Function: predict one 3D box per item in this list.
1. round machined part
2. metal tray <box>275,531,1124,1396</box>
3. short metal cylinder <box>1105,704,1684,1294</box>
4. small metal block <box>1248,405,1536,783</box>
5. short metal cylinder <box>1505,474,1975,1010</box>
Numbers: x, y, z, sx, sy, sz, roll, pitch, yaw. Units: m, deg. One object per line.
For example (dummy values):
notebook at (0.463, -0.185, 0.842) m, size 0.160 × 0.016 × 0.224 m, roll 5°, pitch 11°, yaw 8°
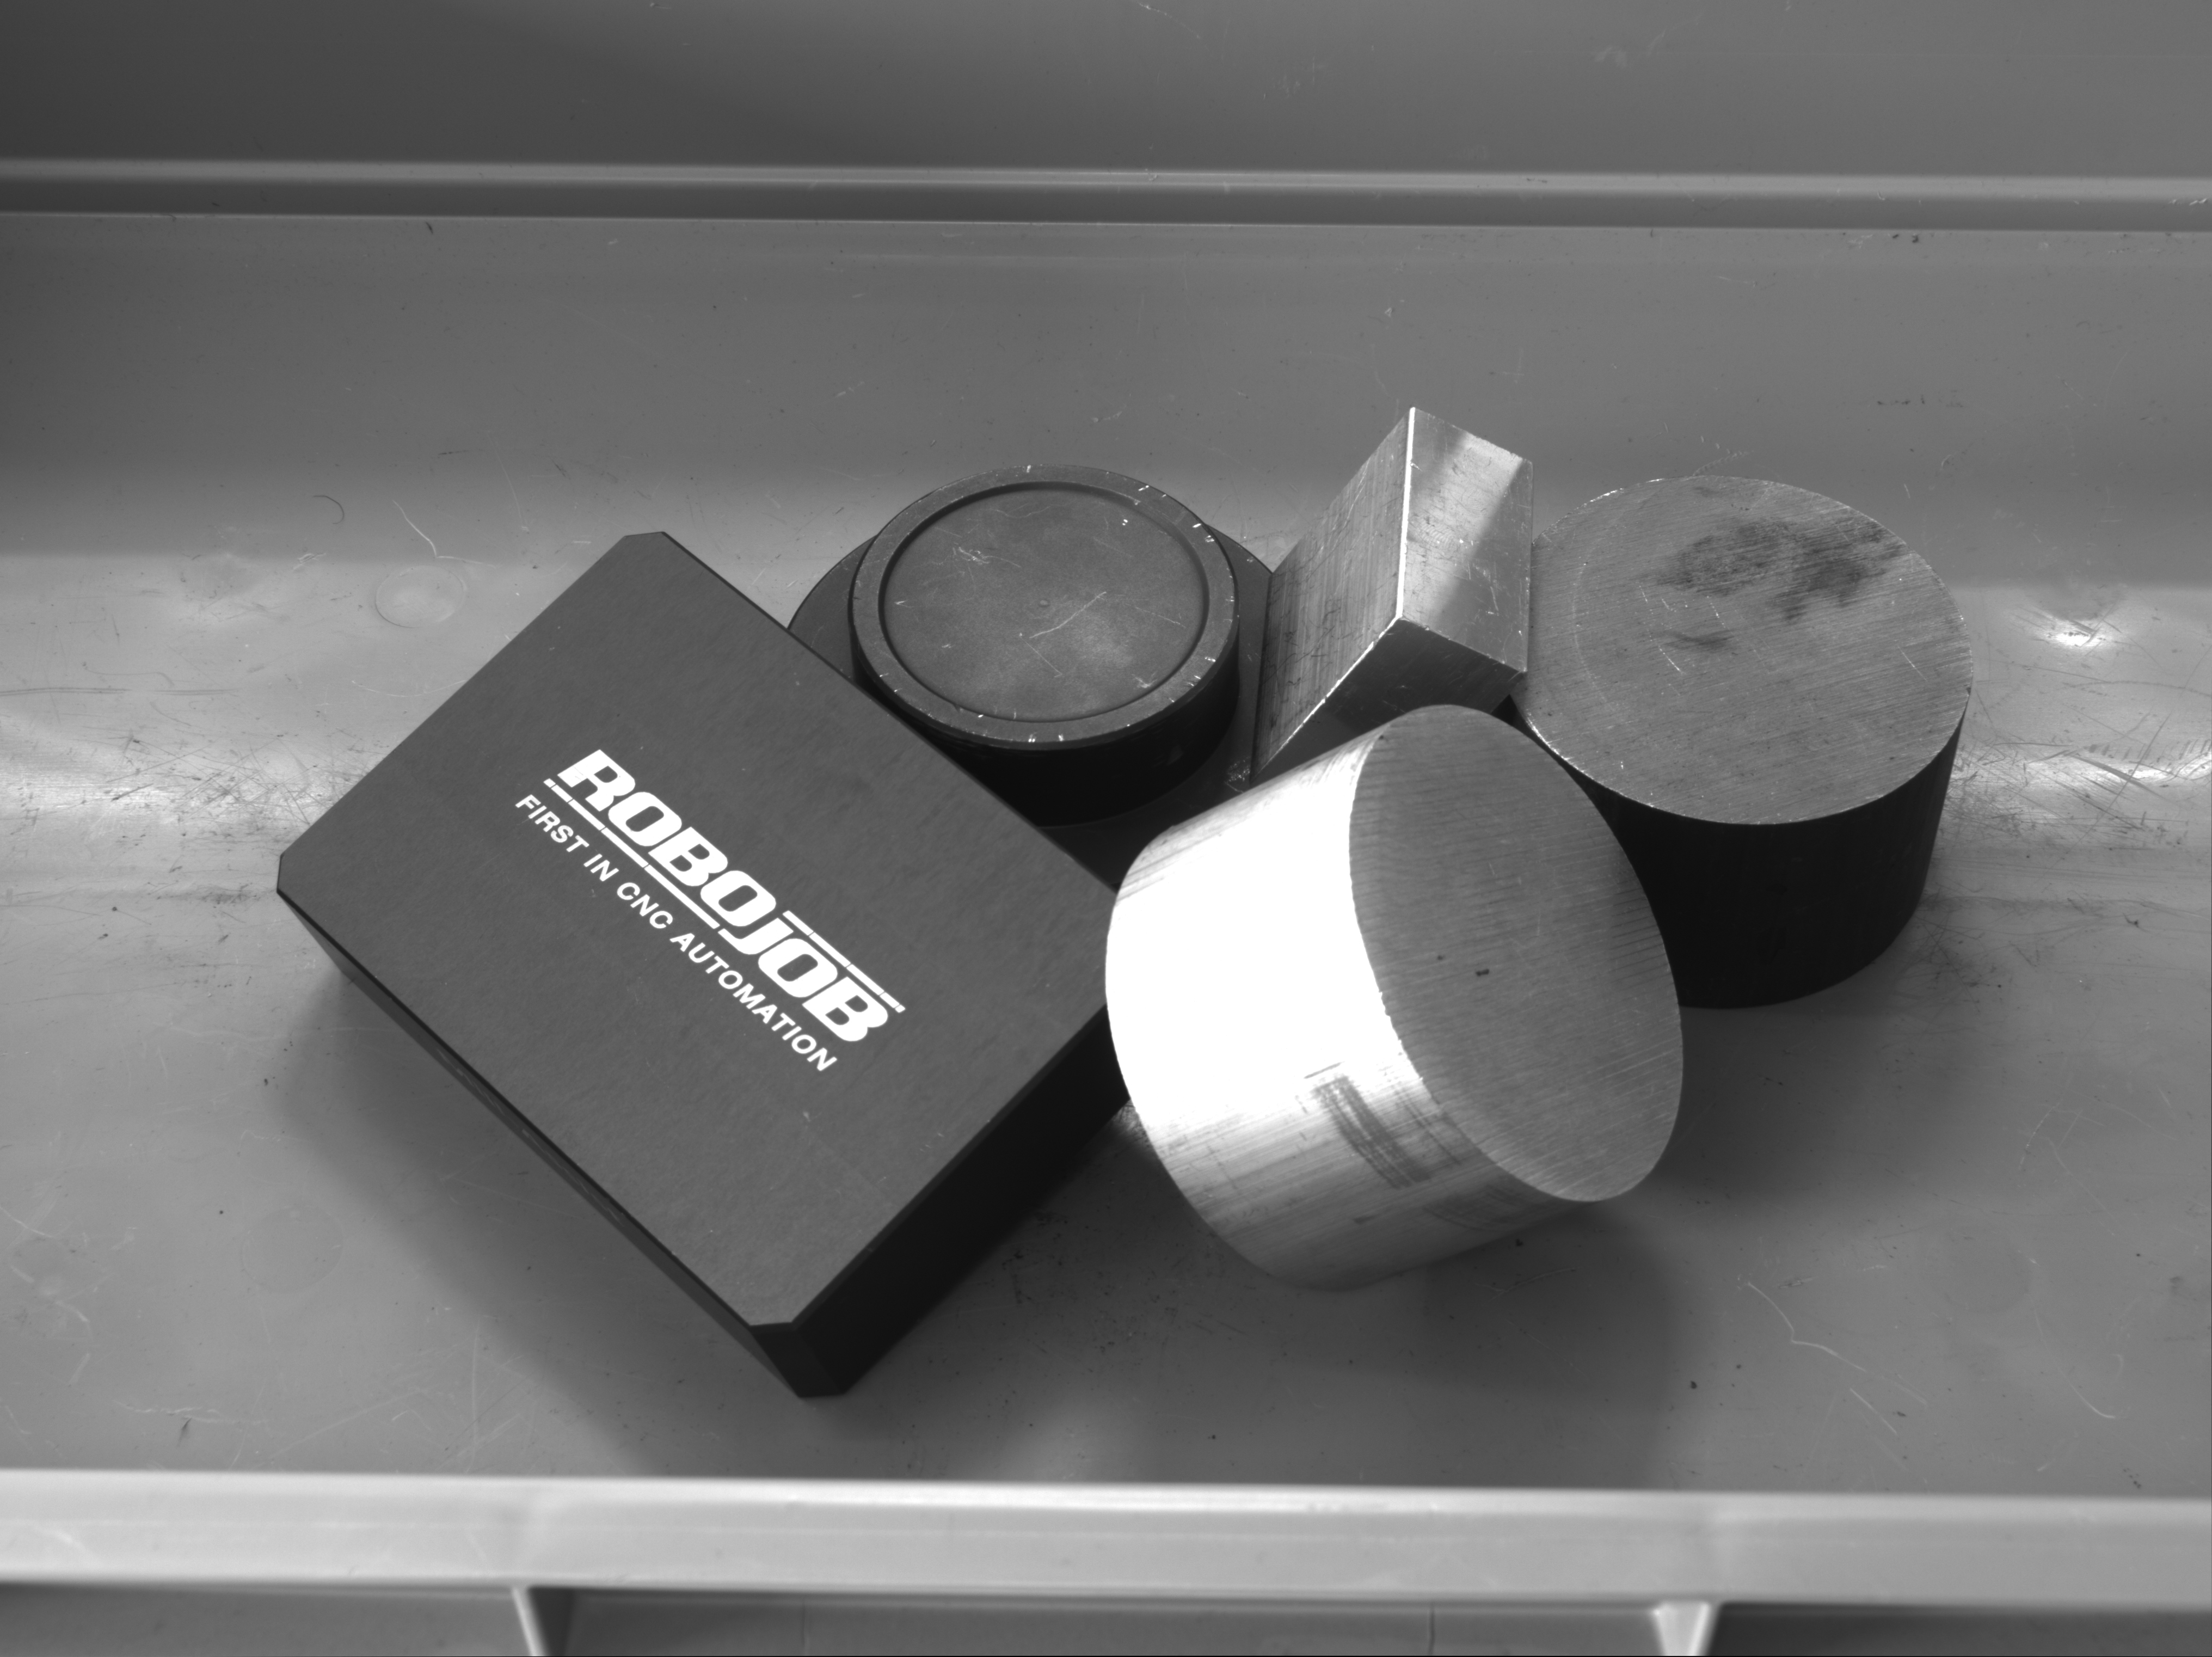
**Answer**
round machined part at (-0.011, -0.027, 0.652) m, size 0.098 × 0.042 × 0.098 m, roll 0°, pitch 50°, yaw 0°
metal tray at (-0.063, 0.019, 0.606) m, size 0.130 × 0.030 × 0.090 m, roll 38°, pitch 75°, yaw 27°
short metal cylinder at (0.046, 0.027, 0.574) m, size 0.050 × 0.080 × 0.080 m, roll -26°, pitch 37°, yaw 37°
small metal block at (0.049, -0.035, 0.630) m, size 0.025 × 0.050 × 0.050 m, roll 23°, pitch 47°, yaw -17°
short metal cylinder at (0.106, -0.016, 0.638) m, size 0.080 × 0.050 × 0.080 m, roll 0°, pitch 50°, yaw 0°
